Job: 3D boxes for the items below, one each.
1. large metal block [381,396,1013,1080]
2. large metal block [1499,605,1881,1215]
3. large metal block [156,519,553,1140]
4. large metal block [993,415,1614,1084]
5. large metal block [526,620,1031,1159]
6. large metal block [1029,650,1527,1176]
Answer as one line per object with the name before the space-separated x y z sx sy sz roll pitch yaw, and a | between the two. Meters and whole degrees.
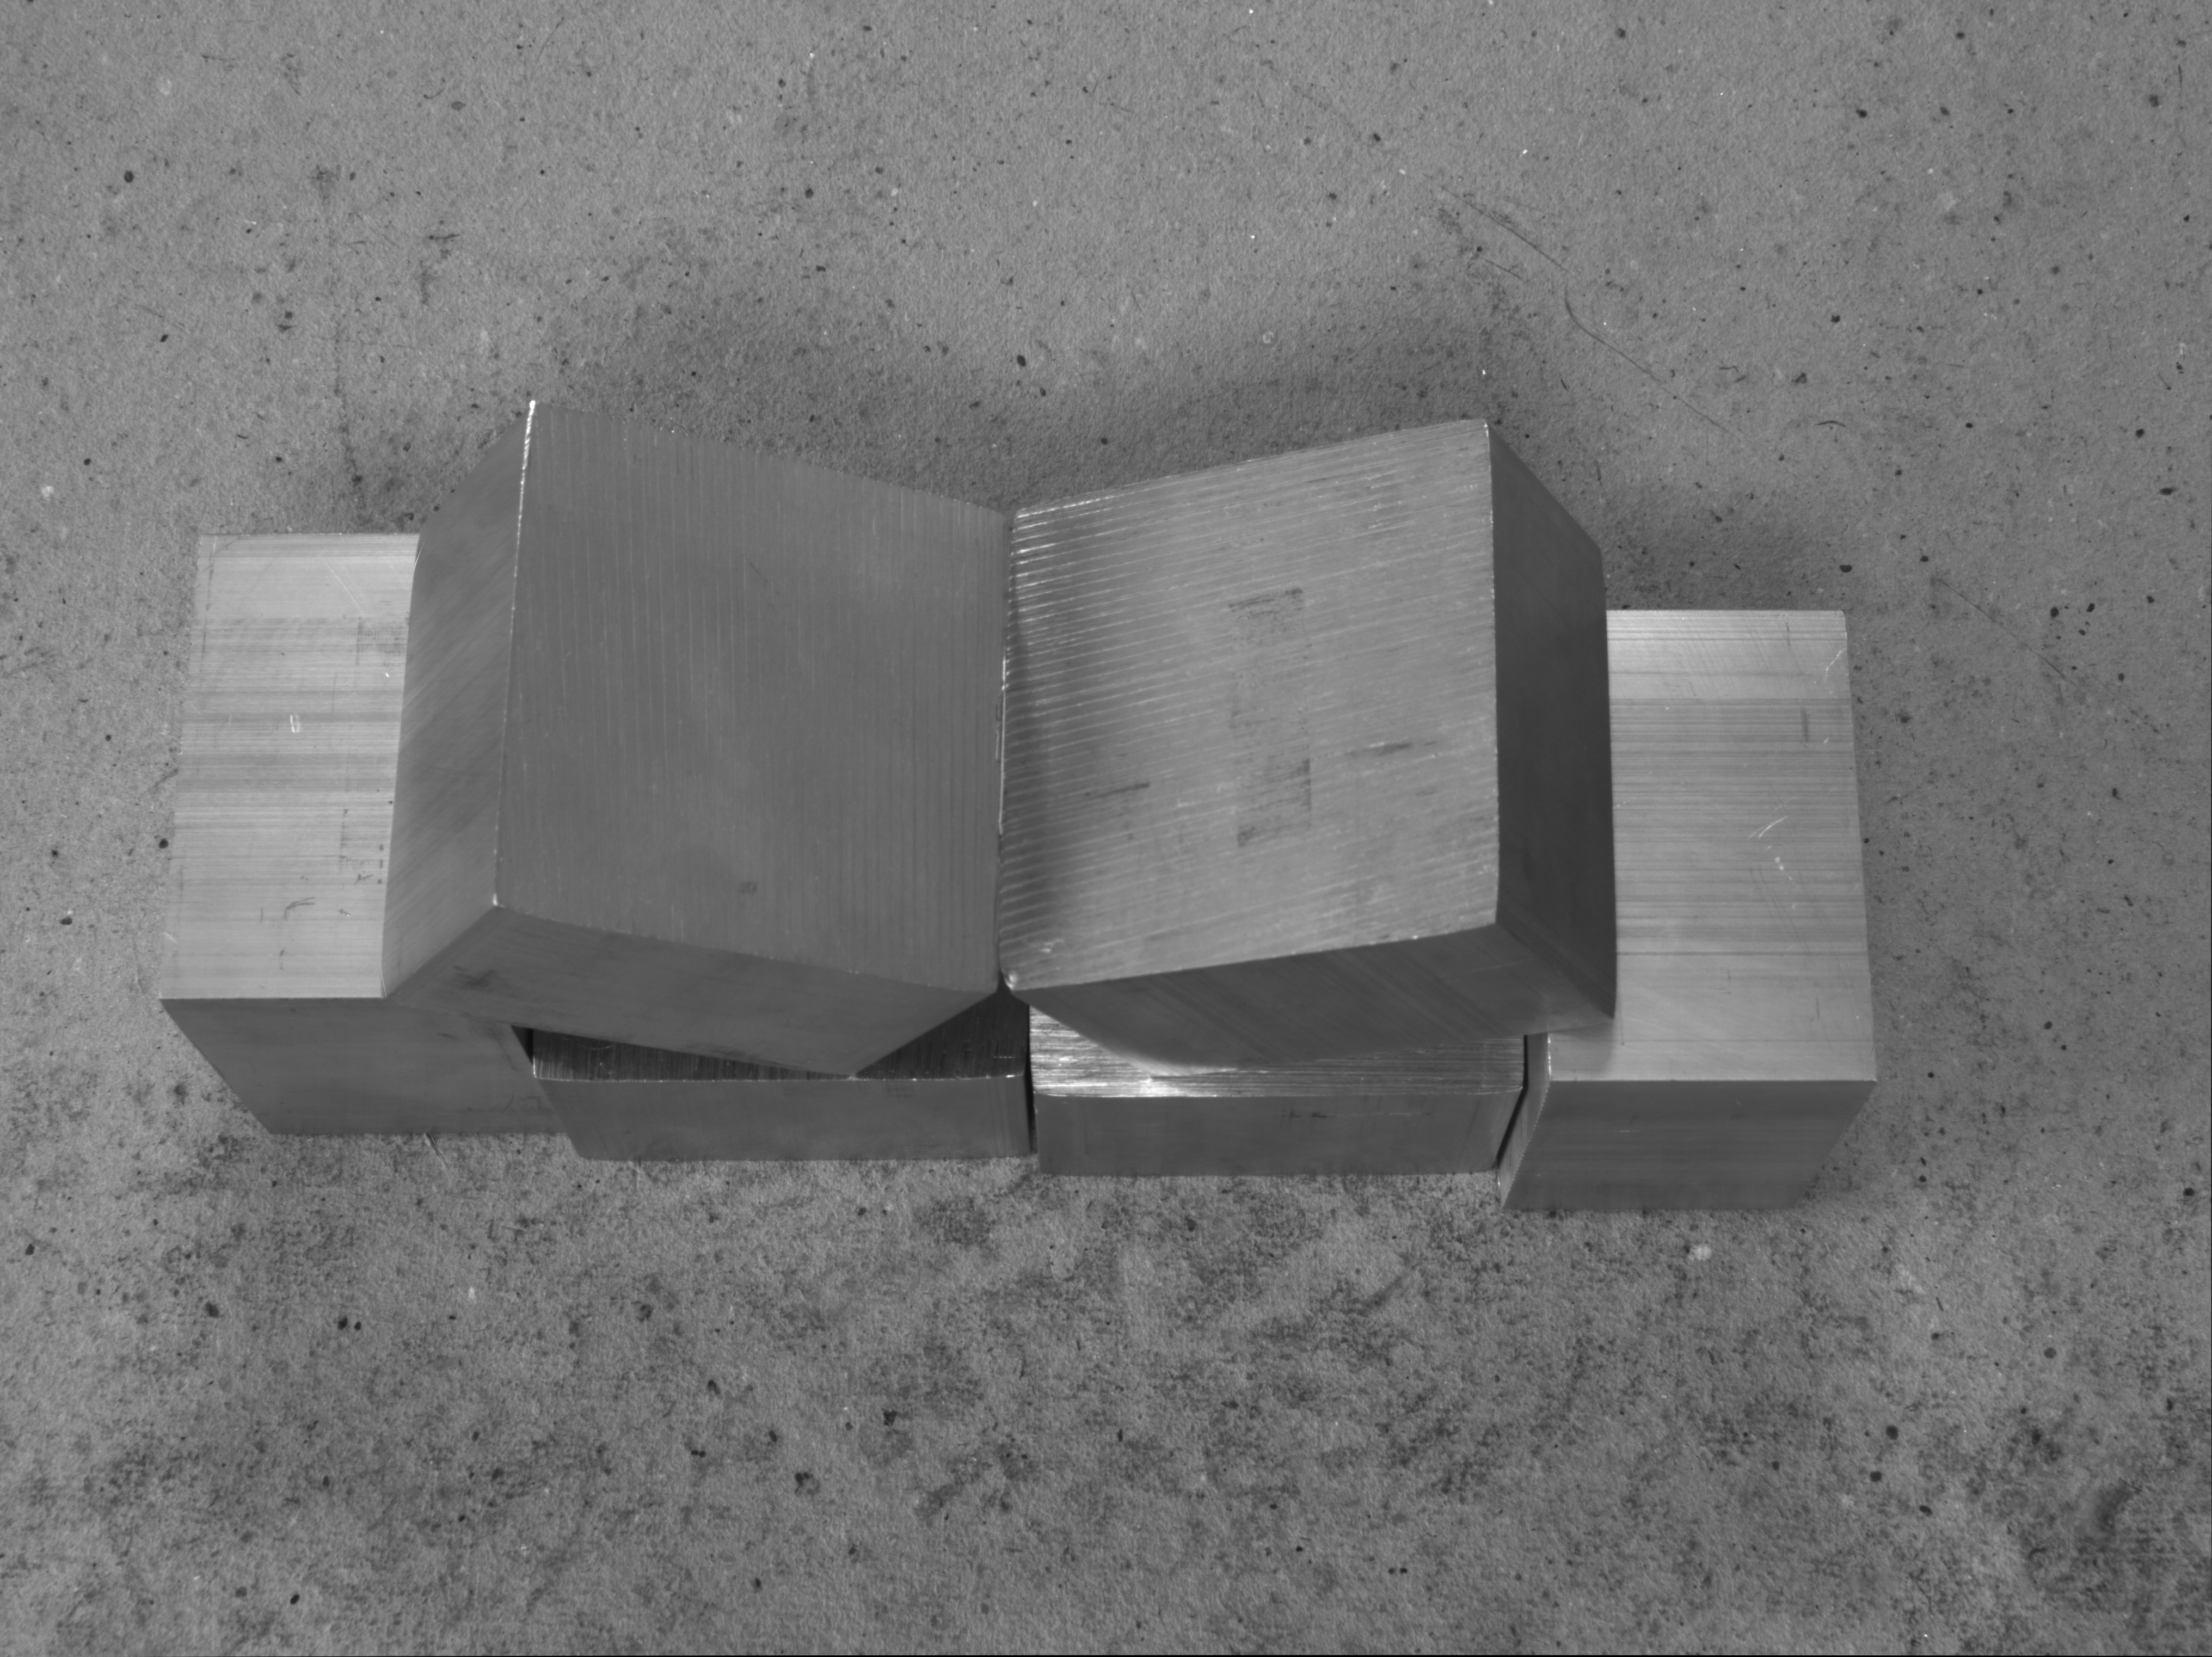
large metal block | -0.062 -0.012 0.565 0.080 0.050 0.080 11 67 -27
large metal block | 0.093 0.016 0.611 0.050 0.080 0.080 0 70 0
large metal block | -0.120 0.002 0.614 0.050 0.080 0.080 -1 69 1
large metal block | 0.031 -0.010 0.566 0.080 0.050 0.080 -9 67 25
large metal block | -0.053 0.011 0.627 0.080 0.050 0.080 0 70 0
large metal block | 0.028 0.014 0.625 0.080 0.050 0.080 0 70 0
